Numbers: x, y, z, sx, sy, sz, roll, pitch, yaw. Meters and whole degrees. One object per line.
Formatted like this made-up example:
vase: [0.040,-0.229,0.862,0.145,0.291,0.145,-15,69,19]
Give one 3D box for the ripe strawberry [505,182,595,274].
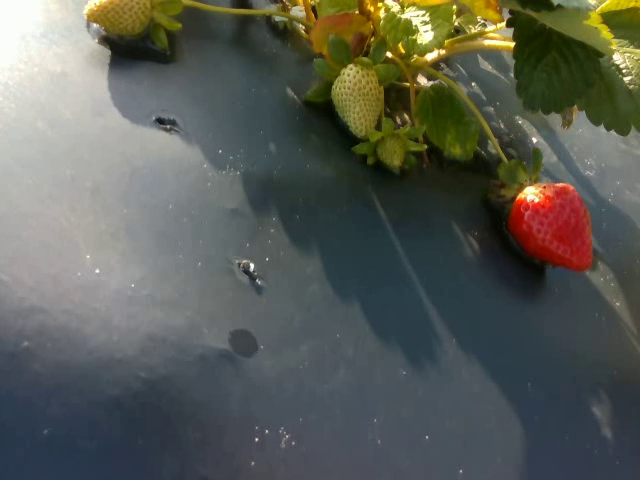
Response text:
ripe strawberry: [0.087,-0.002,0.226,0.030,0.045,0.033,-22,-35,4]
